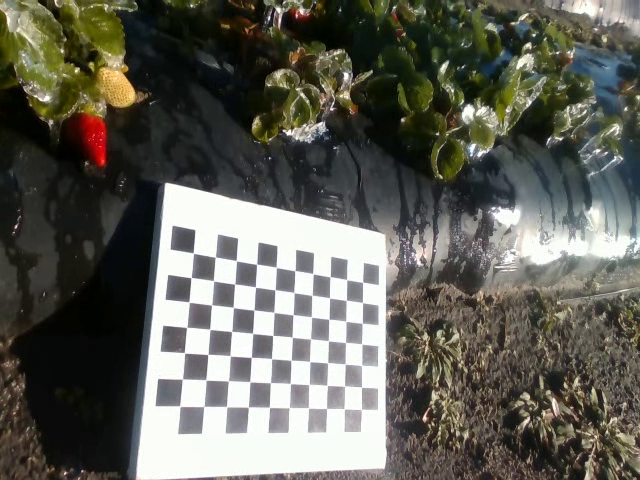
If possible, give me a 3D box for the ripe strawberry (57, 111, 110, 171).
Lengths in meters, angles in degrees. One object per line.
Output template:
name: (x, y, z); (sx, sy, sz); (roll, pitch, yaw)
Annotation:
ripe strawberry: (-0.202, -0.092, 0.560); (0.041, 0.052, 0.040); (-9, -13, -39)
